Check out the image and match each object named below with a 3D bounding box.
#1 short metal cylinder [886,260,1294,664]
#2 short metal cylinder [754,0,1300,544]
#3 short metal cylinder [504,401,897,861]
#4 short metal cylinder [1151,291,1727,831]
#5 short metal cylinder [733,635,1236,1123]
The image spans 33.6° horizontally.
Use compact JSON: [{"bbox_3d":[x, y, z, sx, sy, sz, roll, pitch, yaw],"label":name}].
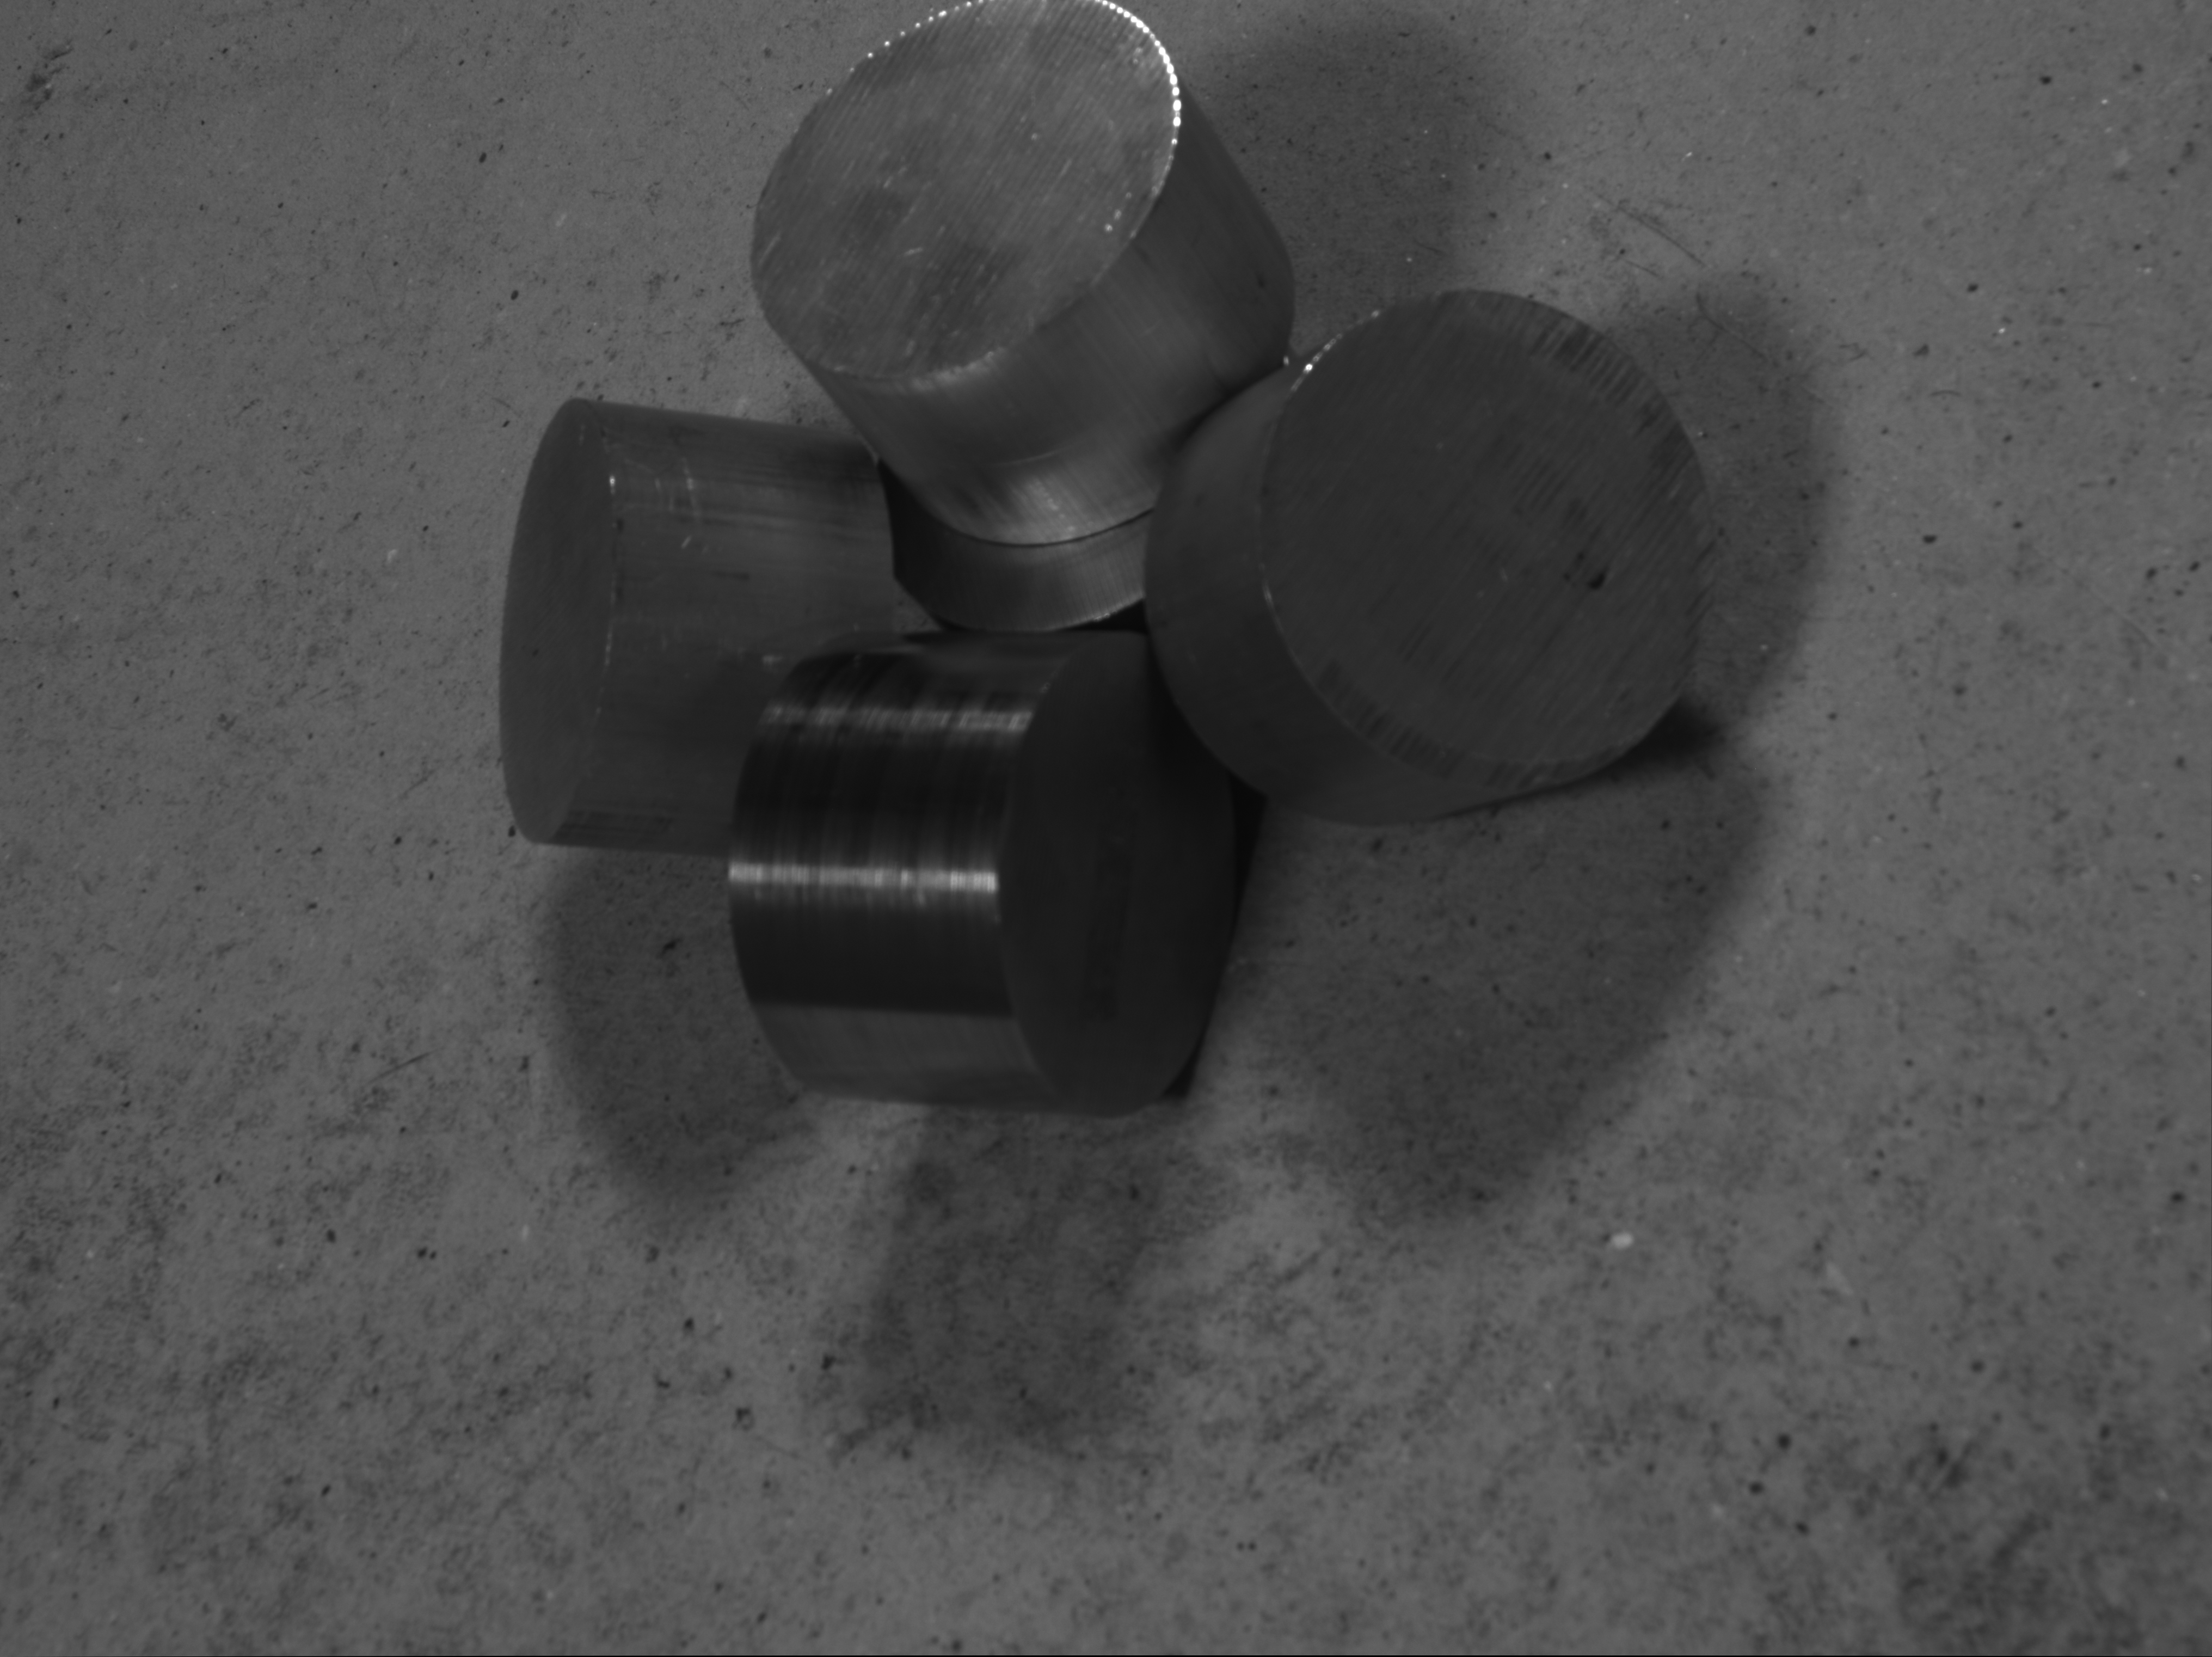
[{"bbox_3d":[0.006,-0.056,0.660,0.080,0.050,0.080,-13,56,21],"label":"short metal cylinder"},{"bbox_3d":[-0.013,-0.096,0.629,0.080,0.050,0.080,-13,56,21],"label":"short metal cylinder"},{"bbox_3d":[-0.075,-0.035,0.664,0.080,0.050,0.080,-175,90,-68],"label":"short metal cylinder"},{"bbox_3d":[0.054,-0.042,0.598,0.080,0.080,0.050,-62,15,-16],"label":"short metal cylinder"},{"bbox_3d":[-0.019,0.008,0.613,0.050,0.080,0.080,2,62,29],"label":"short metal cylinder"}]
